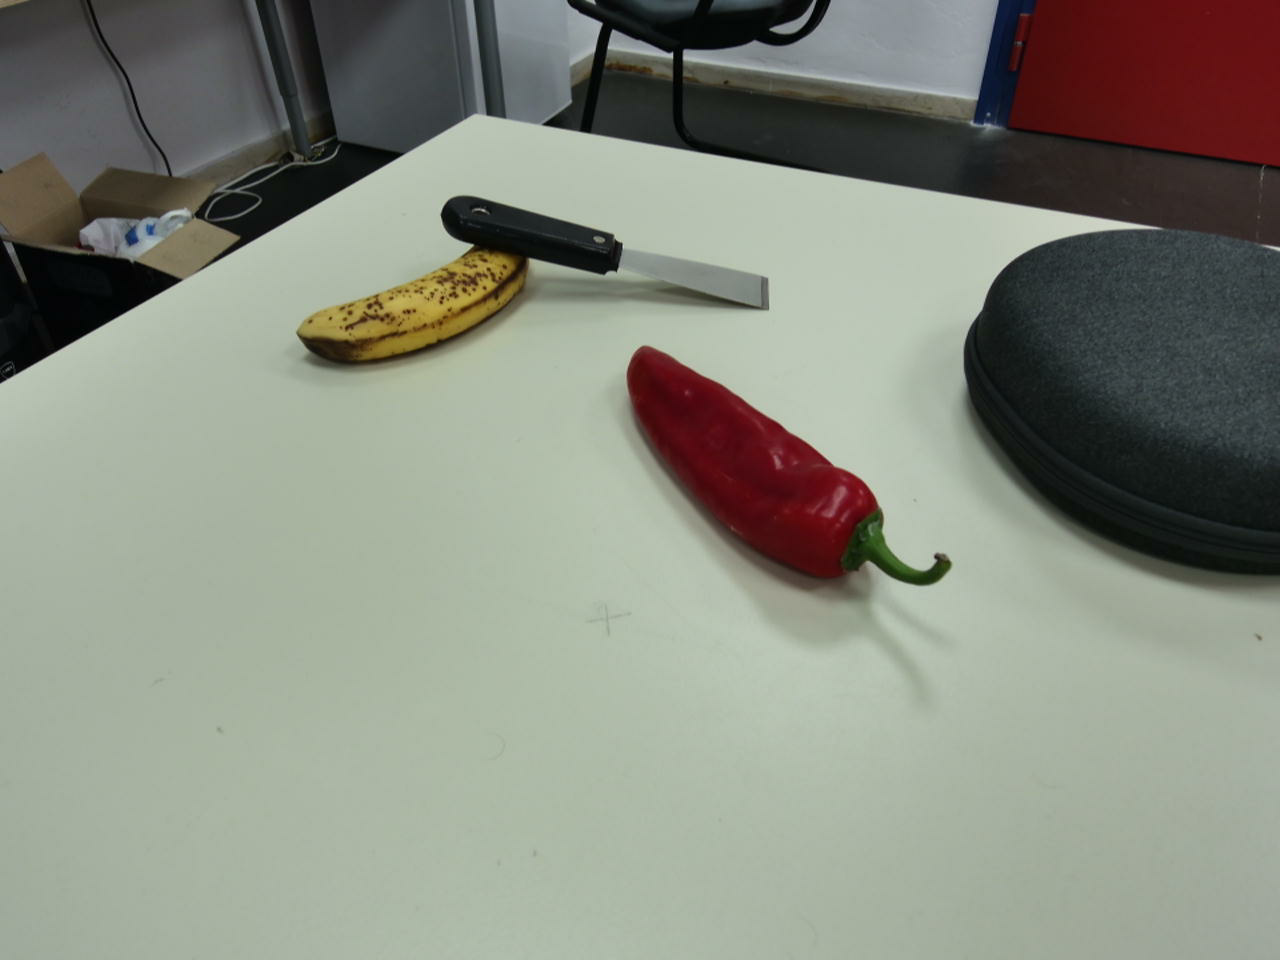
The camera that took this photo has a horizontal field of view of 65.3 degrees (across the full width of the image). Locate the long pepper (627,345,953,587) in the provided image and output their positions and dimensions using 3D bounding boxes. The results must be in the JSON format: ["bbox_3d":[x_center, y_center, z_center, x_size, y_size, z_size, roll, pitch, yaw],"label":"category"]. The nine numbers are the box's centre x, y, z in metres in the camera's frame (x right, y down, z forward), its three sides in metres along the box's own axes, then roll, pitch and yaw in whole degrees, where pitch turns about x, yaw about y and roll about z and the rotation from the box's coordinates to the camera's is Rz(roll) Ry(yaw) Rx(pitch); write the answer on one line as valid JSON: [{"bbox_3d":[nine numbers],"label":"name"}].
[{"bbox_3d":[0.047,-0.009,0.432,0.050,0.043,0.211,-20,41,-24],"label":"long pepper"}]
